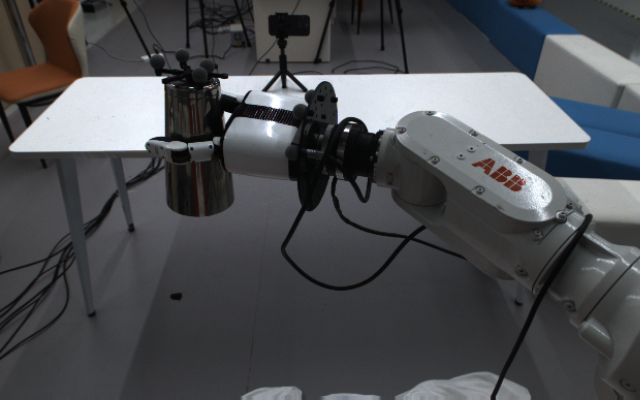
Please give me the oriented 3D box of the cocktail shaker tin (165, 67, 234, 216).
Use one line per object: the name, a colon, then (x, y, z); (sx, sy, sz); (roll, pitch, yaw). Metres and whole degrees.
cocktail shaker tin: (-0.160, -0.074, 0.631); (0.093, 0.170, 0.093); (3, 32, -2)
